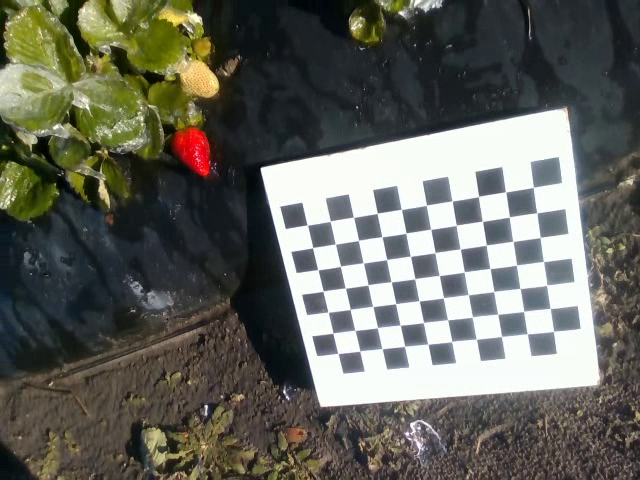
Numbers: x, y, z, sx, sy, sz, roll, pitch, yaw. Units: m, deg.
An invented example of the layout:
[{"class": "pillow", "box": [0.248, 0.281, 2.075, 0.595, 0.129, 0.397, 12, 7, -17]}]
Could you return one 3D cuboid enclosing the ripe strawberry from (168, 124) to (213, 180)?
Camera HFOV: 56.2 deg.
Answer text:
[{"class": "ripe strawberry", "box": [-0.128, -0.085, 0.593, 0.041, 0.052, 0.040, -27, 2, 17]}]
